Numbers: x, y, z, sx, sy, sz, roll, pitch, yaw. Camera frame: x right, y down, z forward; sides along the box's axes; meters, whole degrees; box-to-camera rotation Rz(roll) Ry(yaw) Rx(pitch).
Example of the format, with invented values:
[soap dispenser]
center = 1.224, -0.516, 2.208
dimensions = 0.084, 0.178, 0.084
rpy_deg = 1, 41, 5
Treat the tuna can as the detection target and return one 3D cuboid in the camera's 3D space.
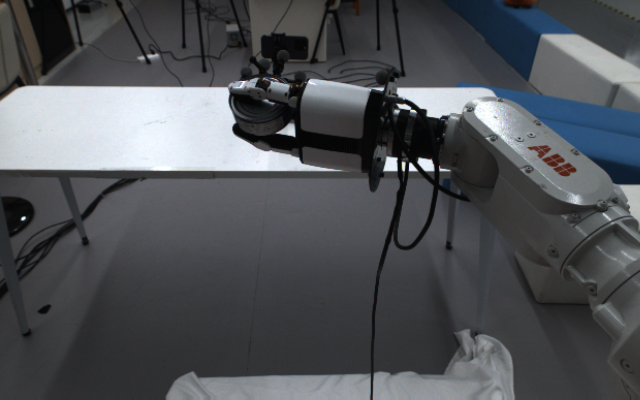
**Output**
[tuna can]
center = -0.080, -0.131, 0.660
dimensions = 0.085, 0.034, 0.085
rpy_deg = -3, 57, 4
